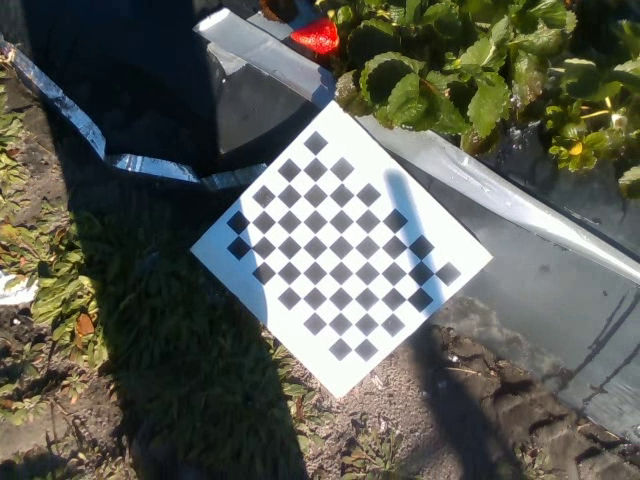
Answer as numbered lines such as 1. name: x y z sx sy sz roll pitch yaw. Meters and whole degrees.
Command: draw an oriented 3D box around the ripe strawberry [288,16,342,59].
1. ripe strawberry: -0.013 -0.270 0.770 0.065 0.062 0.057 -19 10 -37
